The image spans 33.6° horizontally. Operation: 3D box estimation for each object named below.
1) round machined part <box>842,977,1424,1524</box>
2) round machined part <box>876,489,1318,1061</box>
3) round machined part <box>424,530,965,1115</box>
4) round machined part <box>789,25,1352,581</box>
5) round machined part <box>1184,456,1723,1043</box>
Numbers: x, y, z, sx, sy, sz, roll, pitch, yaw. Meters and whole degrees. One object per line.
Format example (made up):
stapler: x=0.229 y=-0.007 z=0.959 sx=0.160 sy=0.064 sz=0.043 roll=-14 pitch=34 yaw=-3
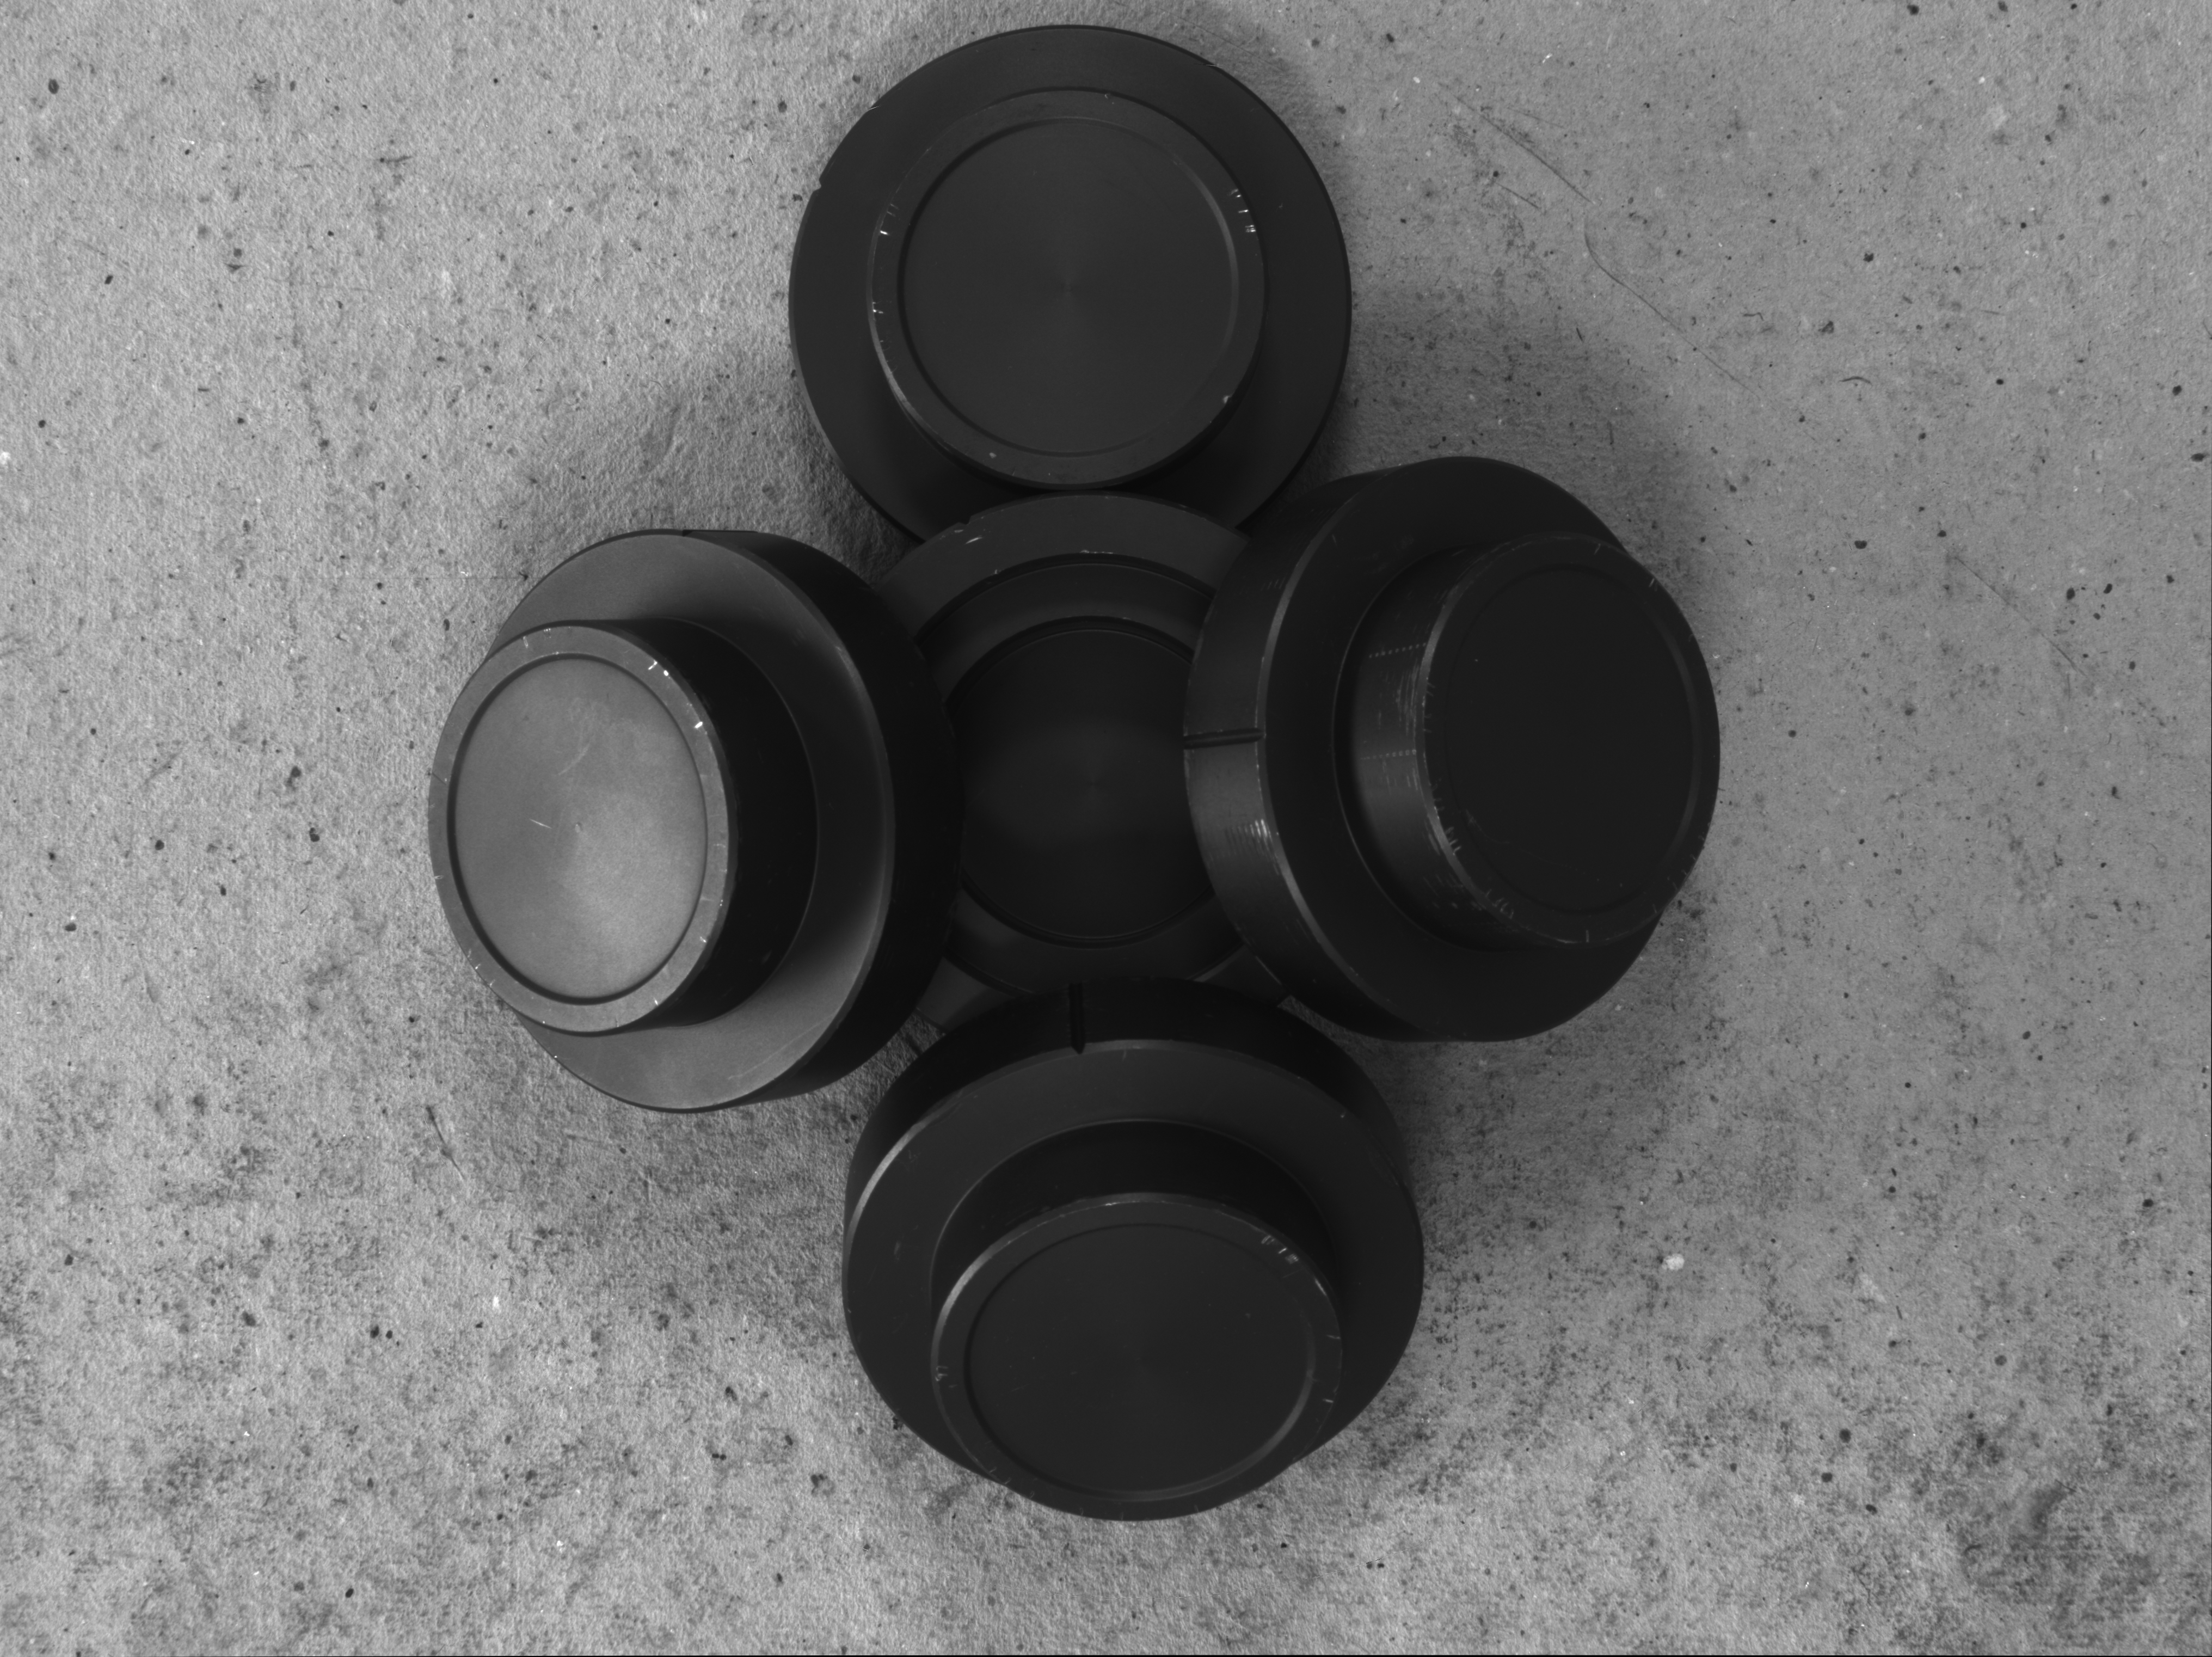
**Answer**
round machined part: x=0.005 y=0.077 z=0.615 sx=0.098 sy=0.042 sz=0.098 roll=-1 pitch=120 yaw=-2
round machined part: x=-0.002 y=-0.008 z=0.637 sx=0.098 sy=0.042 sz=0.098 roll=0 pitch=89 yaw=2
round machined part: x=-0.075 y=-0.001 z=0.613 sx=0.098 sy=0.042 sz=0.098 roll=3 pitch=95 yaw=33
round machined part: x=-0.006 y=-0.091 z=0.637 sx=0.098 sy=0.042 sz=0.098 roll=0 pitch=88 yaw=0
round machined part: x=0.064 y=-0.013 z=0.611 sx=0.098 sy=0.042 sz=0.098 roll=3 pitch=85 yaw=-36
